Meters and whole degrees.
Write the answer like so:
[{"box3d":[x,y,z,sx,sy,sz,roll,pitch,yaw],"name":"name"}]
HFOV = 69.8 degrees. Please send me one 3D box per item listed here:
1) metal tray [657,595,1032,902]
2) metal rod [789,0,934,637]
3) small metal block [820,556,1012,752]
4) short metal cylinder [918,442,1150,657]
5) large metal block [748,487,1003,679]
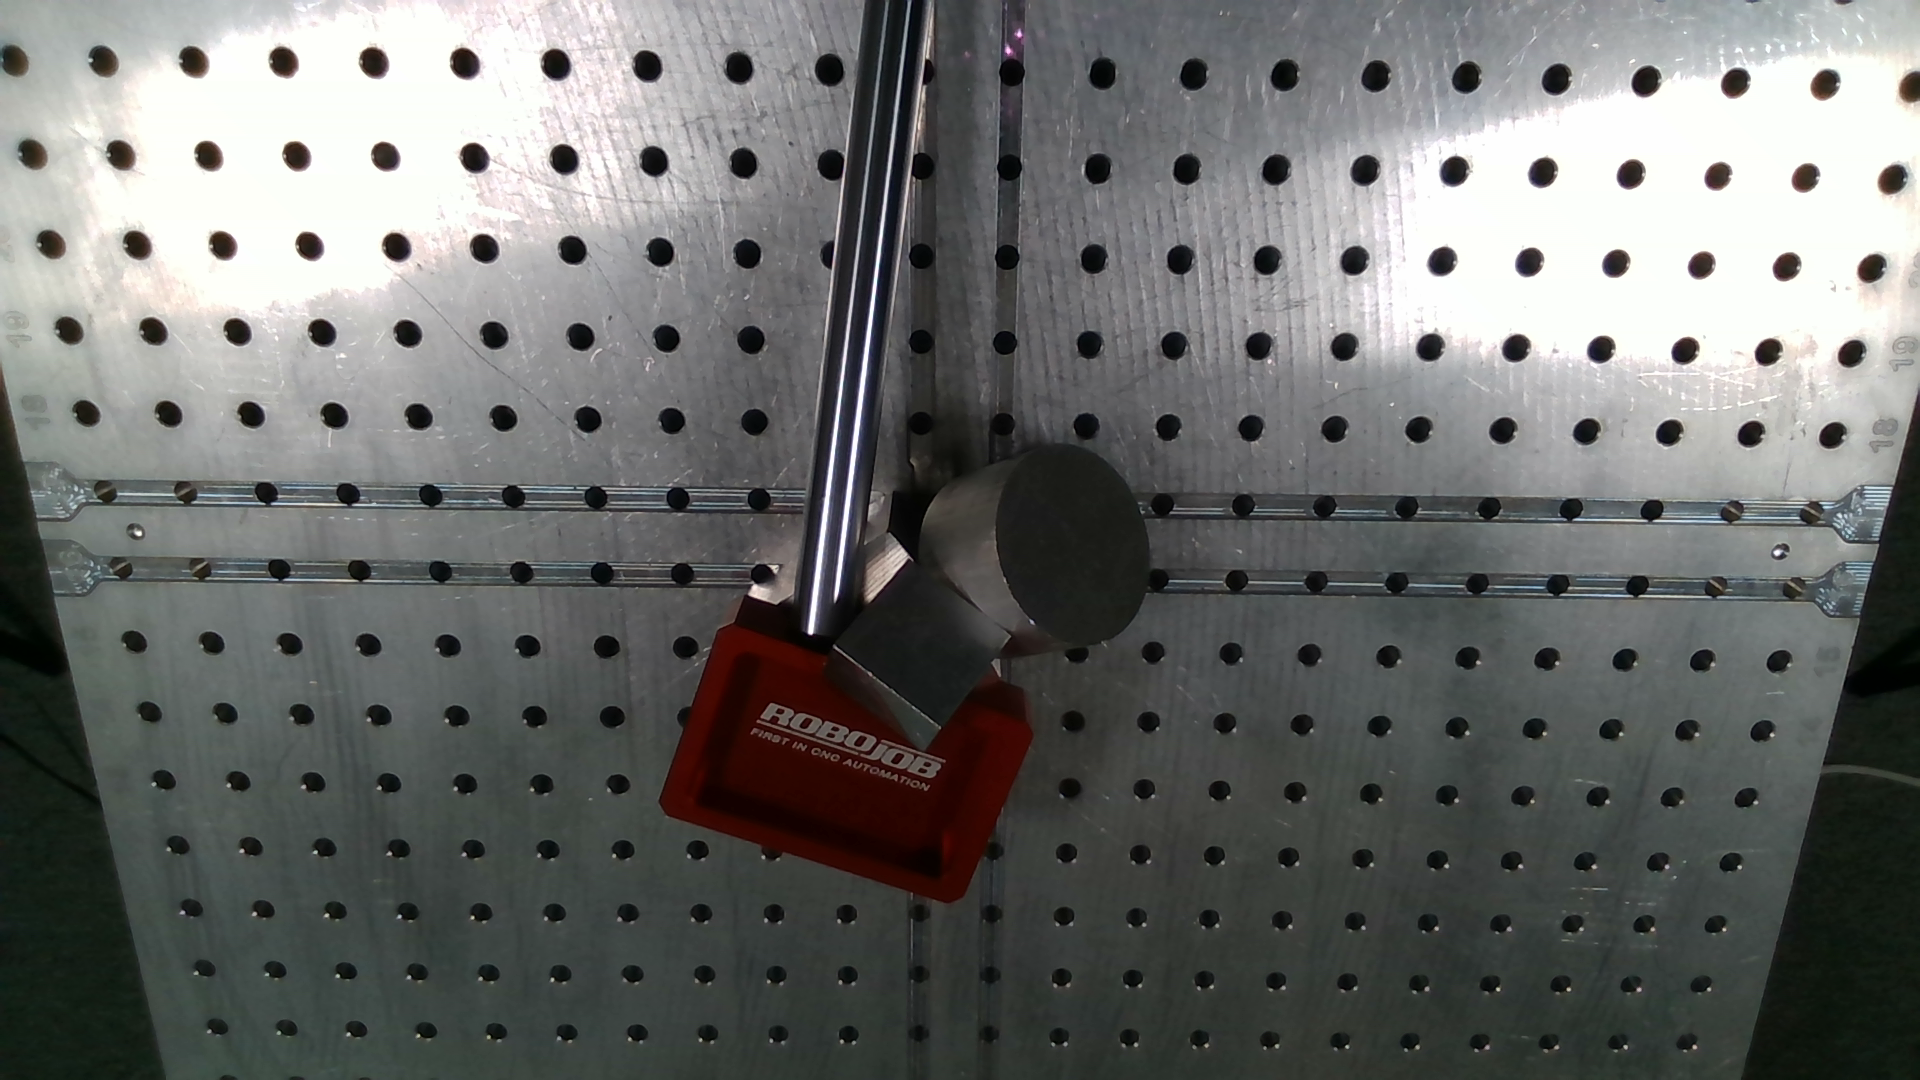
[{"box3d":[-0.047,0.086,0.560,0.130,0.030,0.090,19,109,-7],"name":"metal tray"},{"box3d":[-0.034,-0.112,0.514,0.025,0.025,0.300,8,99,-3],"name":"metal rod"},{"box3d":[-0.017,0.043,0.526,0.050,0.050,0.025,37,147,5],"name":"small metal block"},{"box3d":[0.030,0.005,0.553,0.050,0.080,0.080,-15,117,51],"name":"short metal cylinder"},{"box3d":[-0.038,0.038,0.587,0.080,0.050,0.080,-34,107,12],"name":"large metal block"}]
